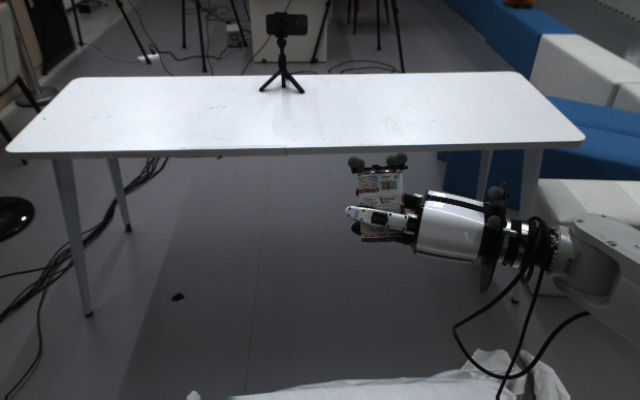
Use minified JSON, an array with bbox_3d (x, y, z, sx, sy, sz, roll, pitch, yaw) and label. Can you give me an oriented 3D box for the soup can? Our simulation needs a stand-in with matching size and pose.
[{"bbox_3d":[0.092,0.009,0.708,0.067,0.101,0.067,-3,-1,0],"label":"soup can"}]
